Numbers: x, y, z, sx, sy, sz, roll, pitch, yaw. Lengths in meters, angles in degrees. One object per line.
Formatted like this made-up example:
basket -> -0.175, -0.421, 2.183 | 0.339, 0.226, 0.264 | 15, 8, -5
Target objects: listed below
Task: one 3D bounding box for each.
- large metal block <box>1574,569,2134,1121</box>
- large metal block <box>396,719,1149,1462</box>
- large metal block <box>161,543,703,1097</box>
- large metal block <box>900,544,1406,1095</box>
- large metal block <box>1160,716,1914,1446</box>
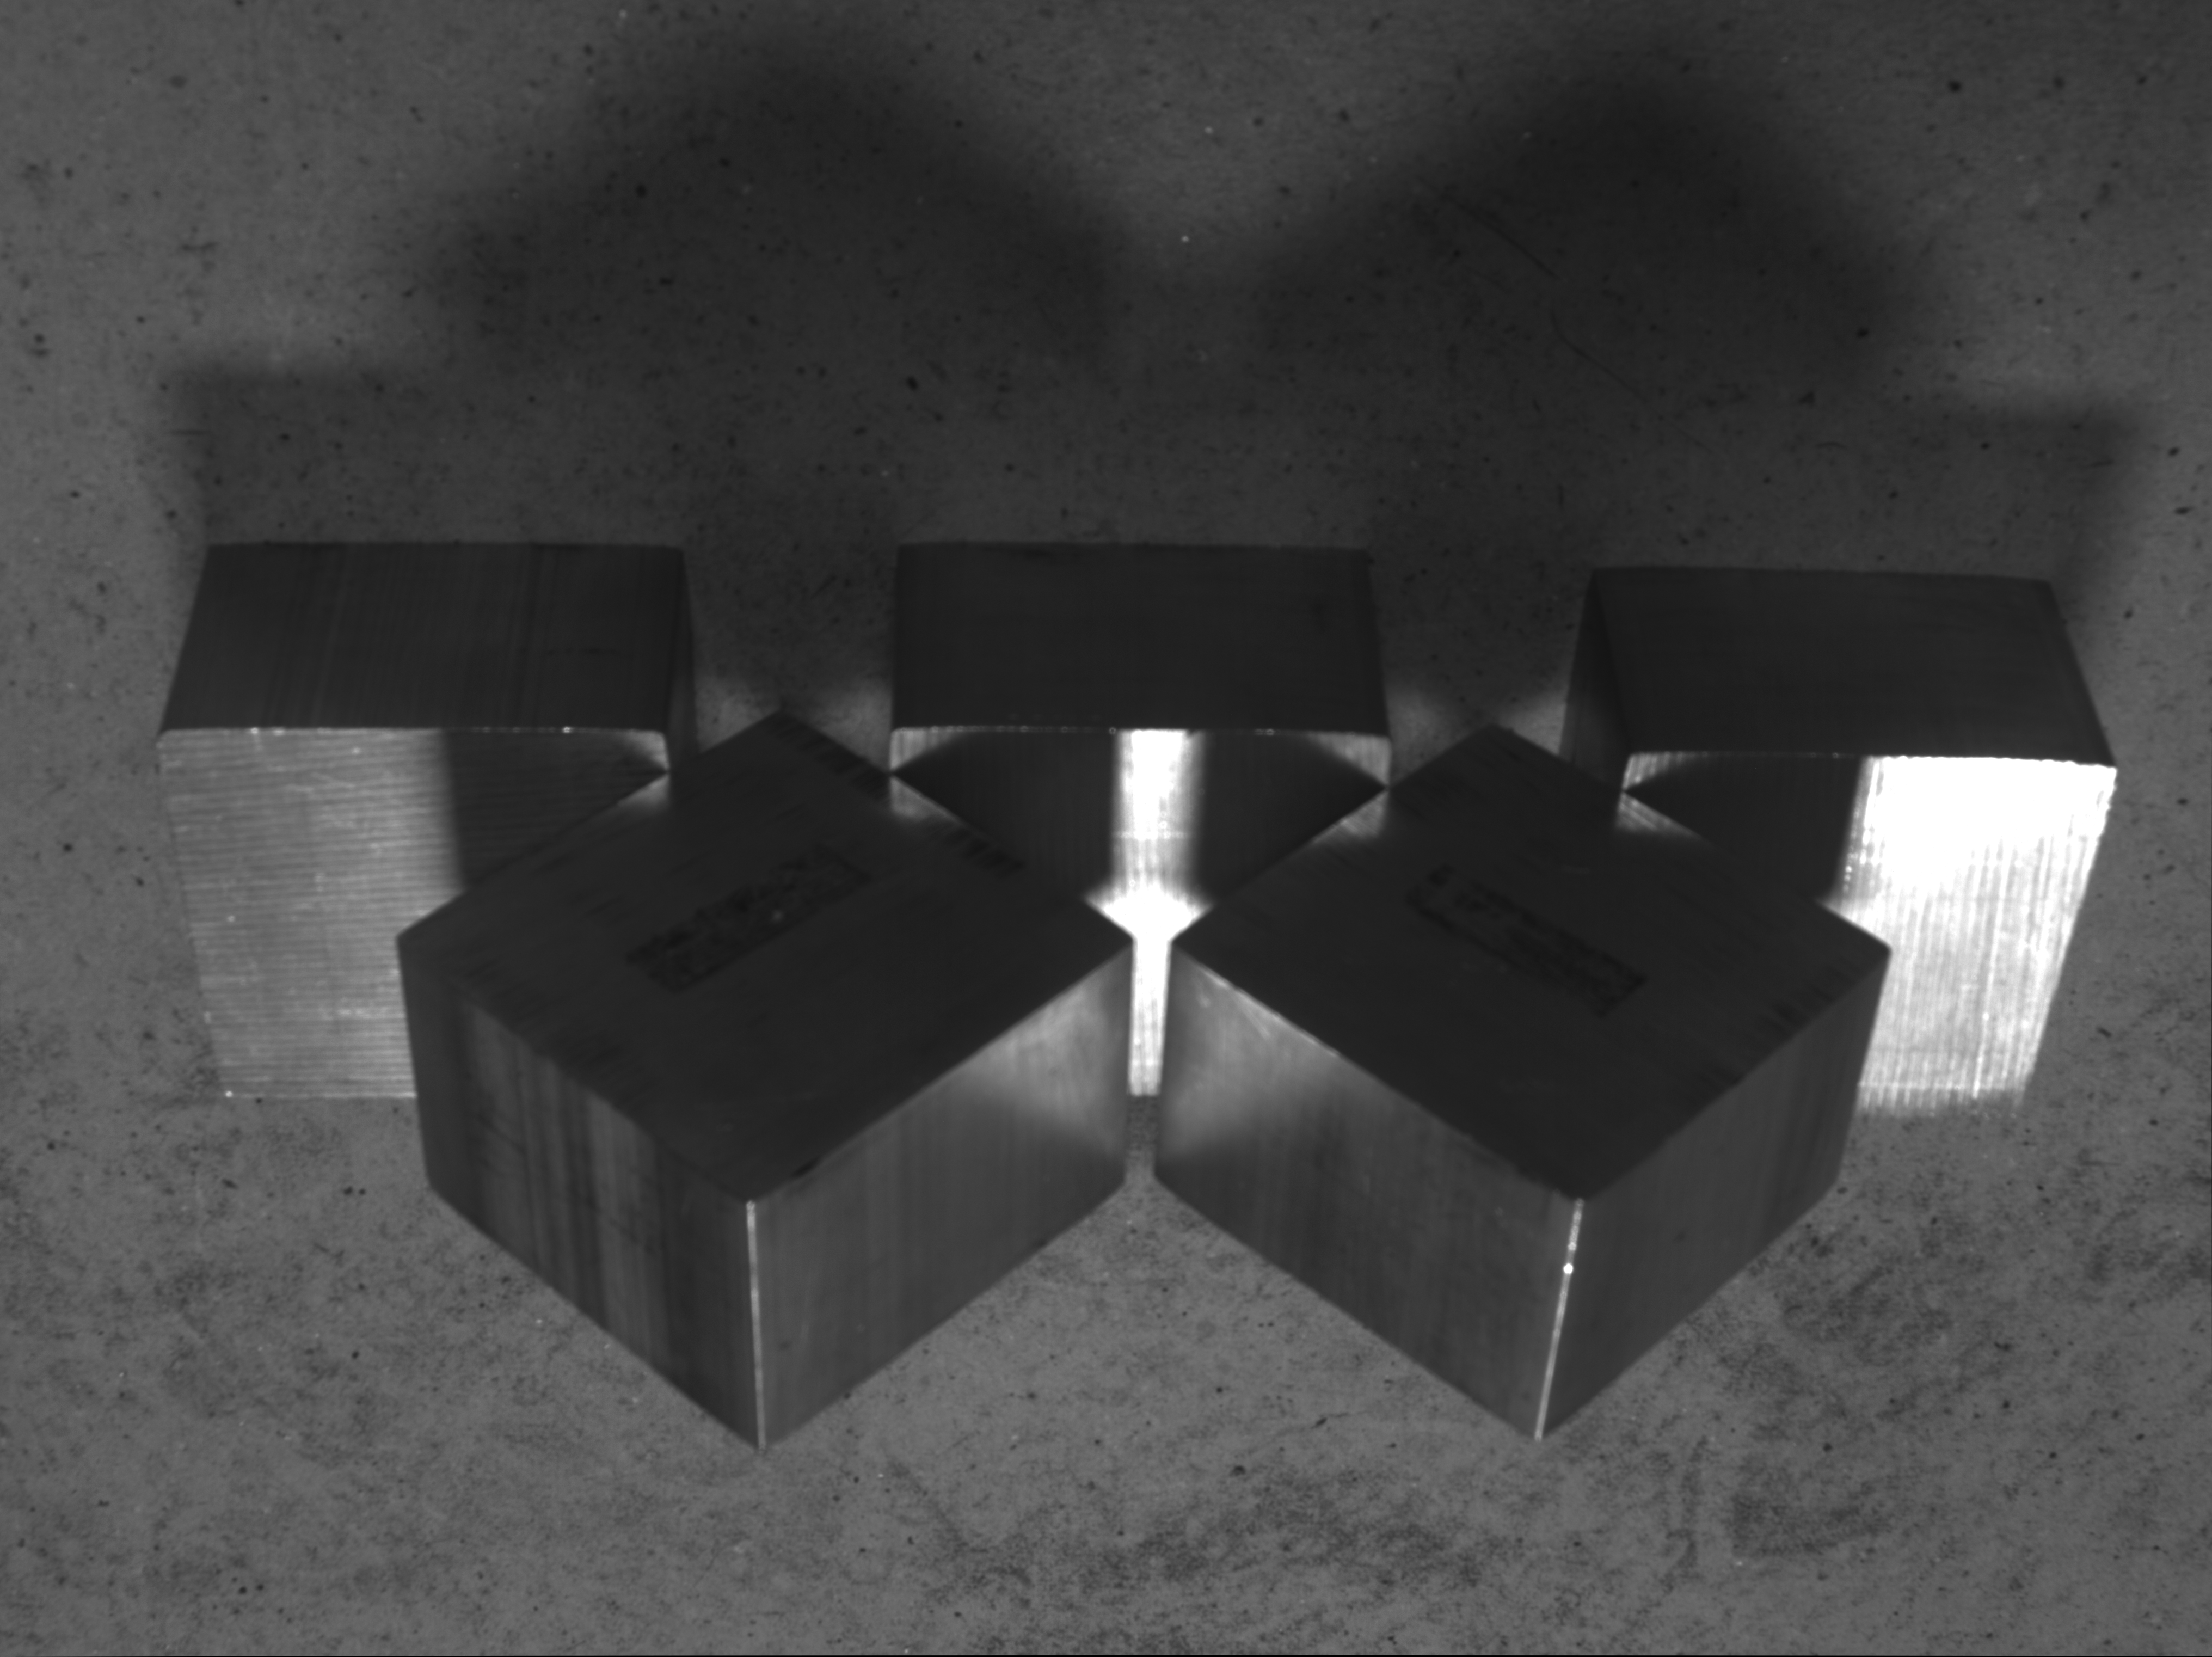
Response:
large metal block -> 0.123, 0.003, 0.630 | 0.080, 0.050, 0.080 | 1, 130, -3
large metal block -> -0.050, 0.038, 0.568 | 0.080, 0.080, 0.050 | -34, 141, -34
large metal block -> -0.109, -0.001, 0.618 | 0.080, 0.050, 0.080 | 0, 130, -2
large metal block -> 0.006, -0.001, 0.622 | 0.080, 0.050, 0.080 | 1, 130, -2
large metal block -> 0.066, 0.037, 0.573 | 0.080, 0.080, 0.050 | 32, 138, 31
